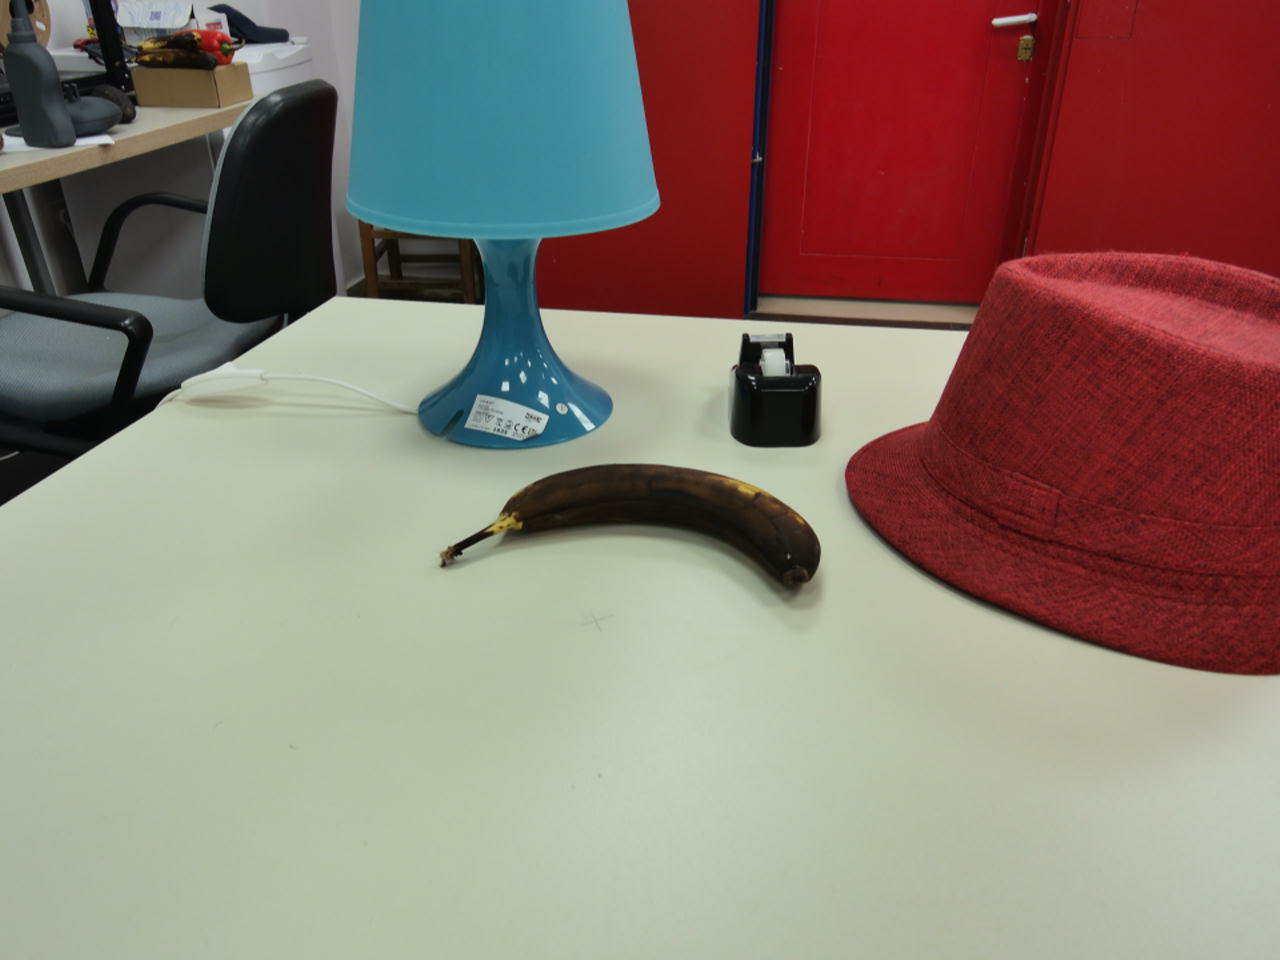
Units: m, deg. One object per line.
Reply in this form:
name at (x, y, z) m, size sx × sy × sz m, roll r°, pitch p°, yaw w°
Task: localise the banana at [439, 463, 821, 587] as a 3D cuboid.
banana at (0.000, 0.019, 0.516) m, size 0.188 × 0.034 × 0.091 m, roll 5°, pitch 26°, yaw 12°
